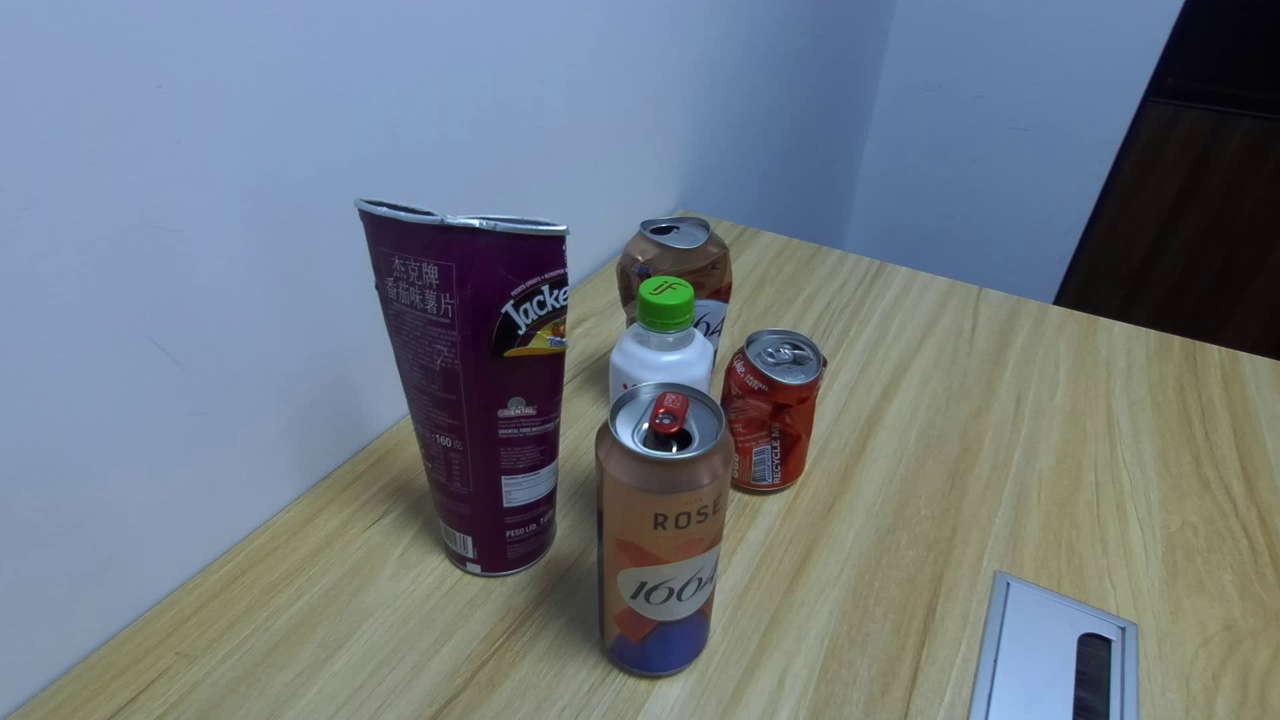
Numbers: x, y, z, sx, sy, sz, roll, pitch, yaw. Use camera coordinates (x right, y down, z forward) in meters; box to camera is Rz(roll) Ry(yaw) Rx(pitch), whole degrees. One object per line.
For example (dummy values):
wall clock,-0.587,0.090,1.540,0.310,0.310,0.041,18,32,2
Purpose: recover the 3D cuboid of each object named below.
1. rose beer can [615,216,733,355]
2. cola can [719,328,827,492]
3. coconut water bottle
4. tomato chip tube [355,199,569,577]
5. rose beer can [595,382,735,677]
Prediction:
rose beer can,0.024,-0.029,0.550,0.068,0.162,0.074,23,39,26
cola can,0.091,0.037,0.505,0.069,0.112,0.065,10,36,10
coconut water bottle,0.012,0.039,0.431,0.063,0.189,0.063,1,35,-1
tomato chip tube,-0.089,0.024,0.413,0.078,0.236,0.089,-21,40,-29
rose beer can,0.011,0.095,0.376,0.068,0.169,0.068,2,36,-1
